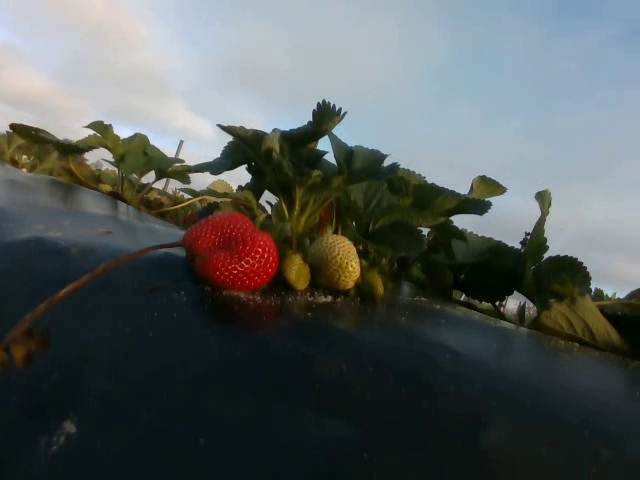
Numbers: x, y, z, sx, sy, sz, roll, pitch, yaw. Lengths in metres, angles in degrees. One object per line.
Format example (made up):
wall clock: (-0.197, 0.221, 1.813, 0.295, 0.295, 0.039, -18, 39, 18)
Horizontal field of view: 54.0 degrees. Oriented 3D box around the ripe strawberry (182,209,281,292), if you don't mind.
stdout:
ripe strawberry: (-0.048, -0.001, 0.320, 0.047, 0.035, 0.050, 15, 22, 36)
